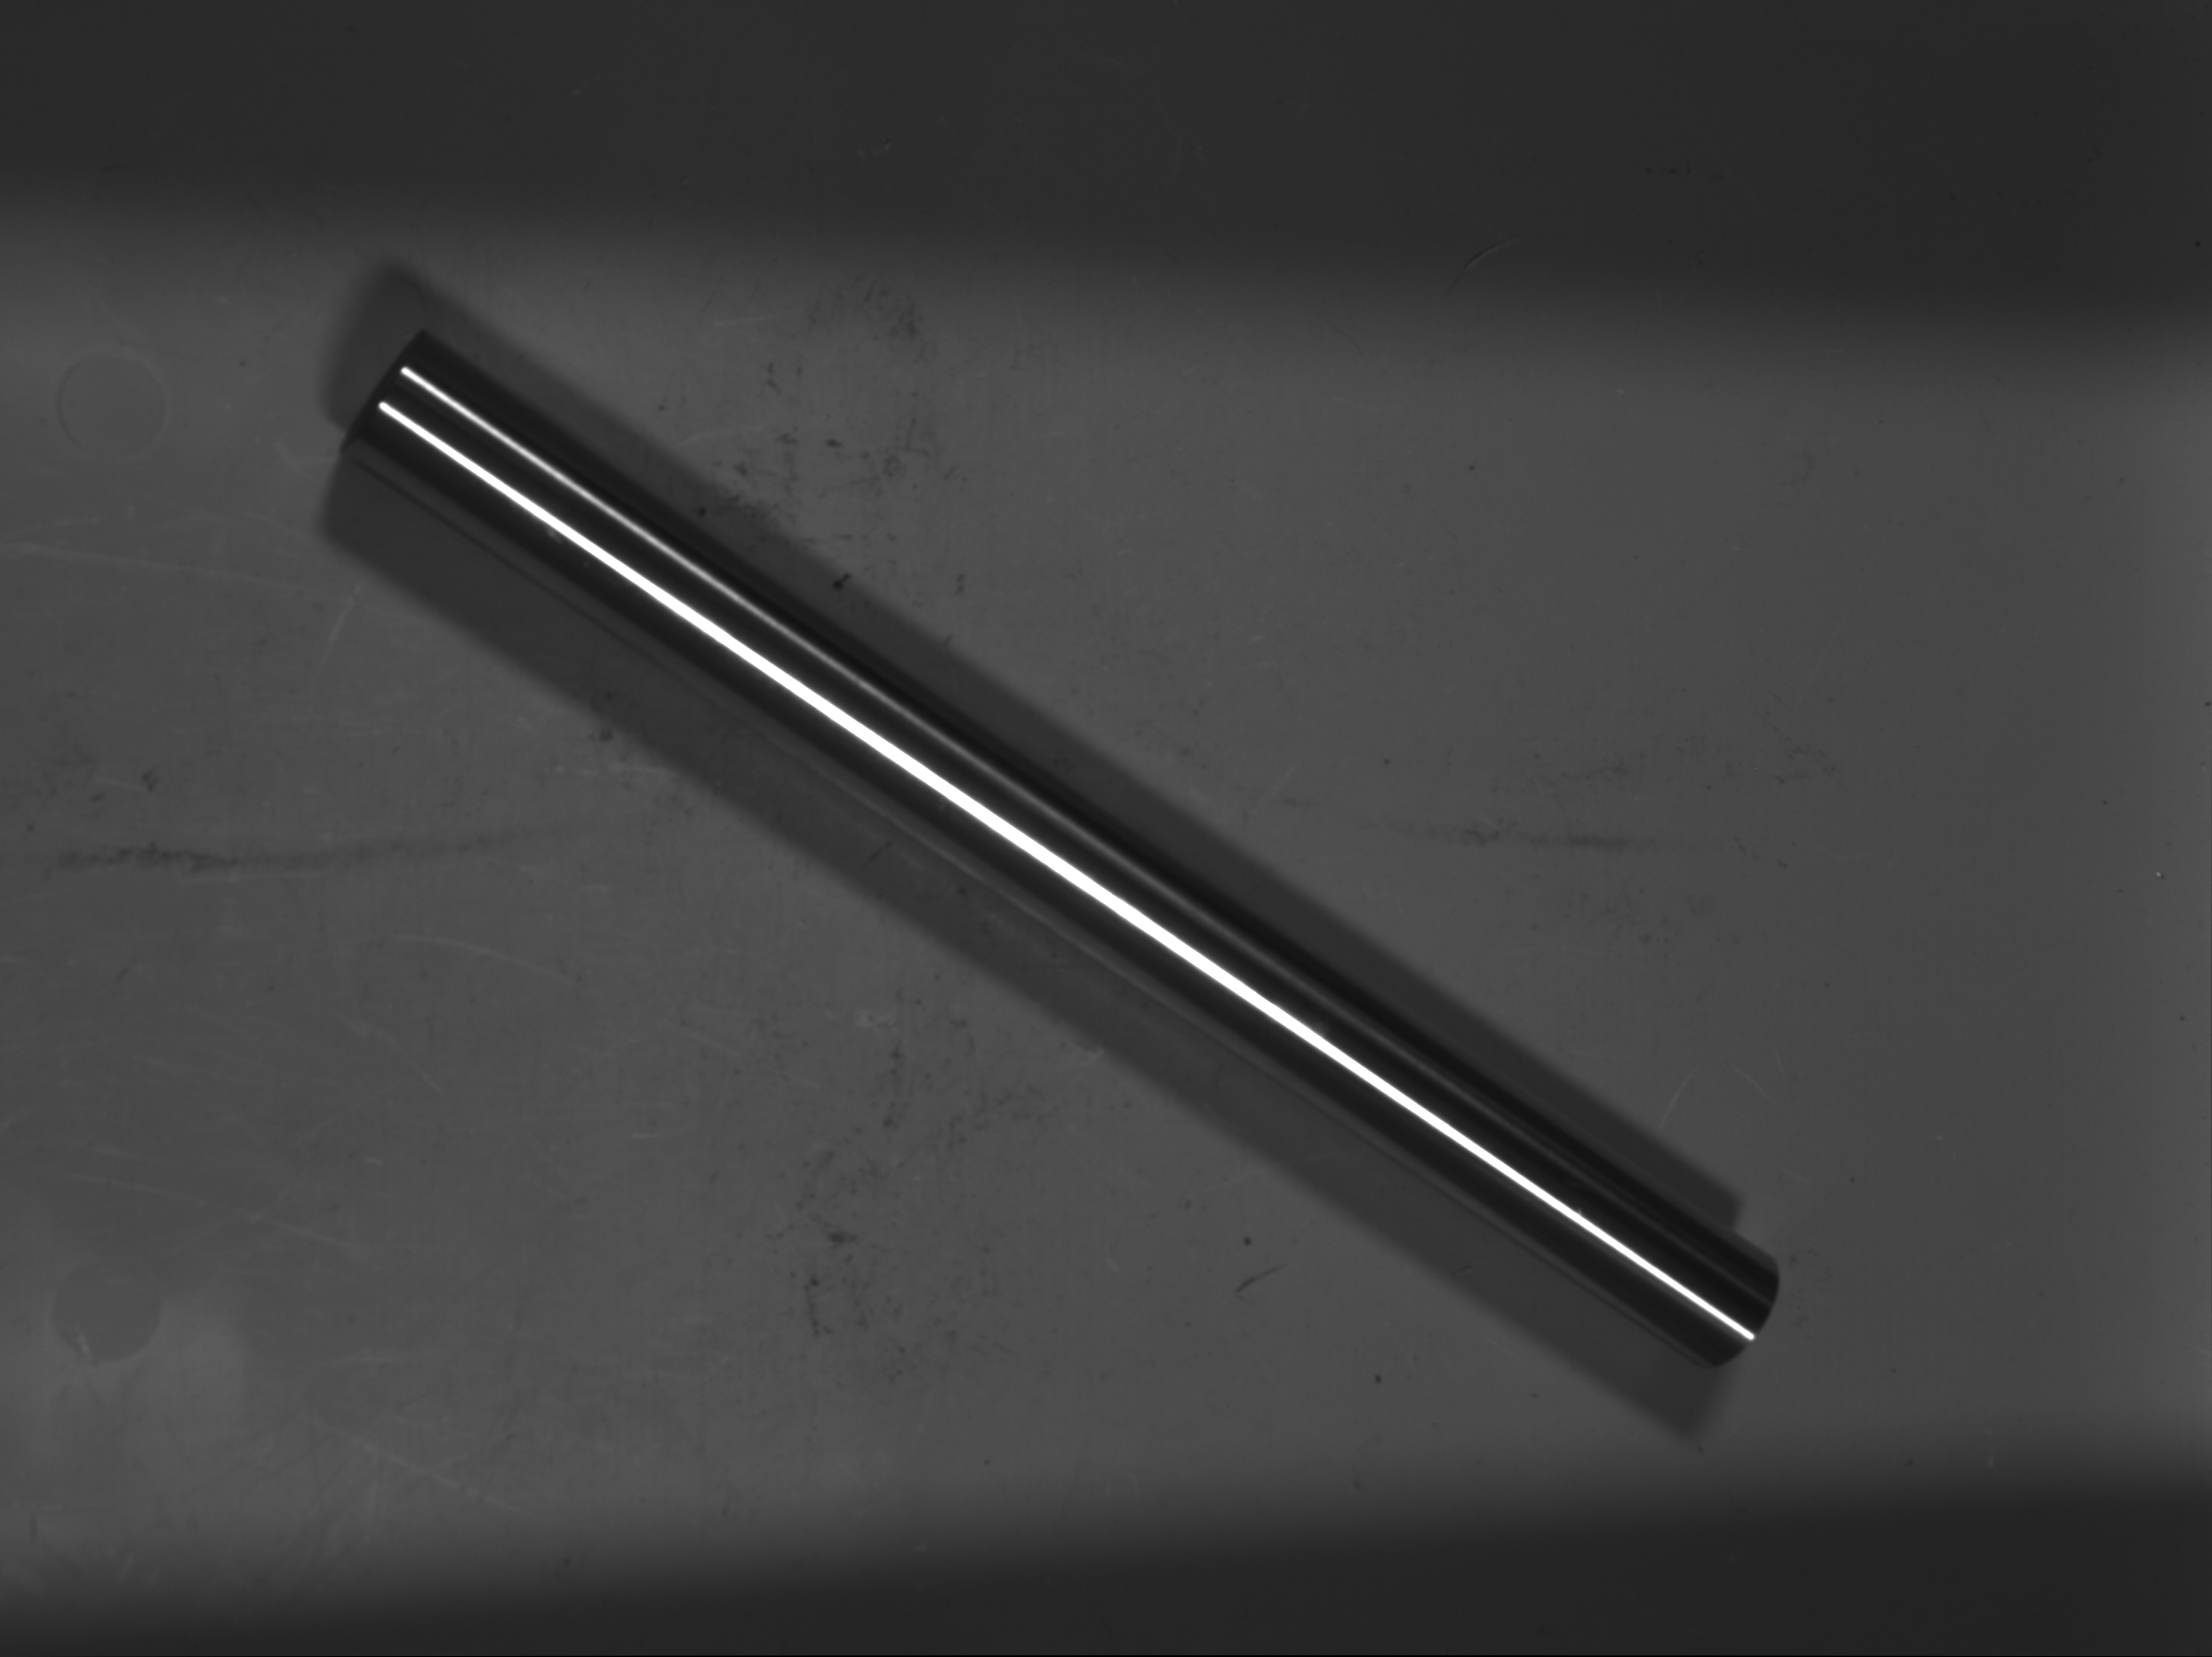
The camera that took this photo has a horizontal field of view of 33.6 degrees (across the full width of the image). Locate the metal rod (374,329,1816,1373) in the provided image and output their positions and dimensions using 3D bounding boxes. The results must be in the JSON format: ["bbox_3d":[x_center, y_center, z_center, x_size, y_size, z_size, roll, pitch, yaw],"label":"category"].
[{"bbox_3d":[0.006,0.010,0.644,0.300,0.025,0.025,34,79,-17],"label":"metal rod"}]
